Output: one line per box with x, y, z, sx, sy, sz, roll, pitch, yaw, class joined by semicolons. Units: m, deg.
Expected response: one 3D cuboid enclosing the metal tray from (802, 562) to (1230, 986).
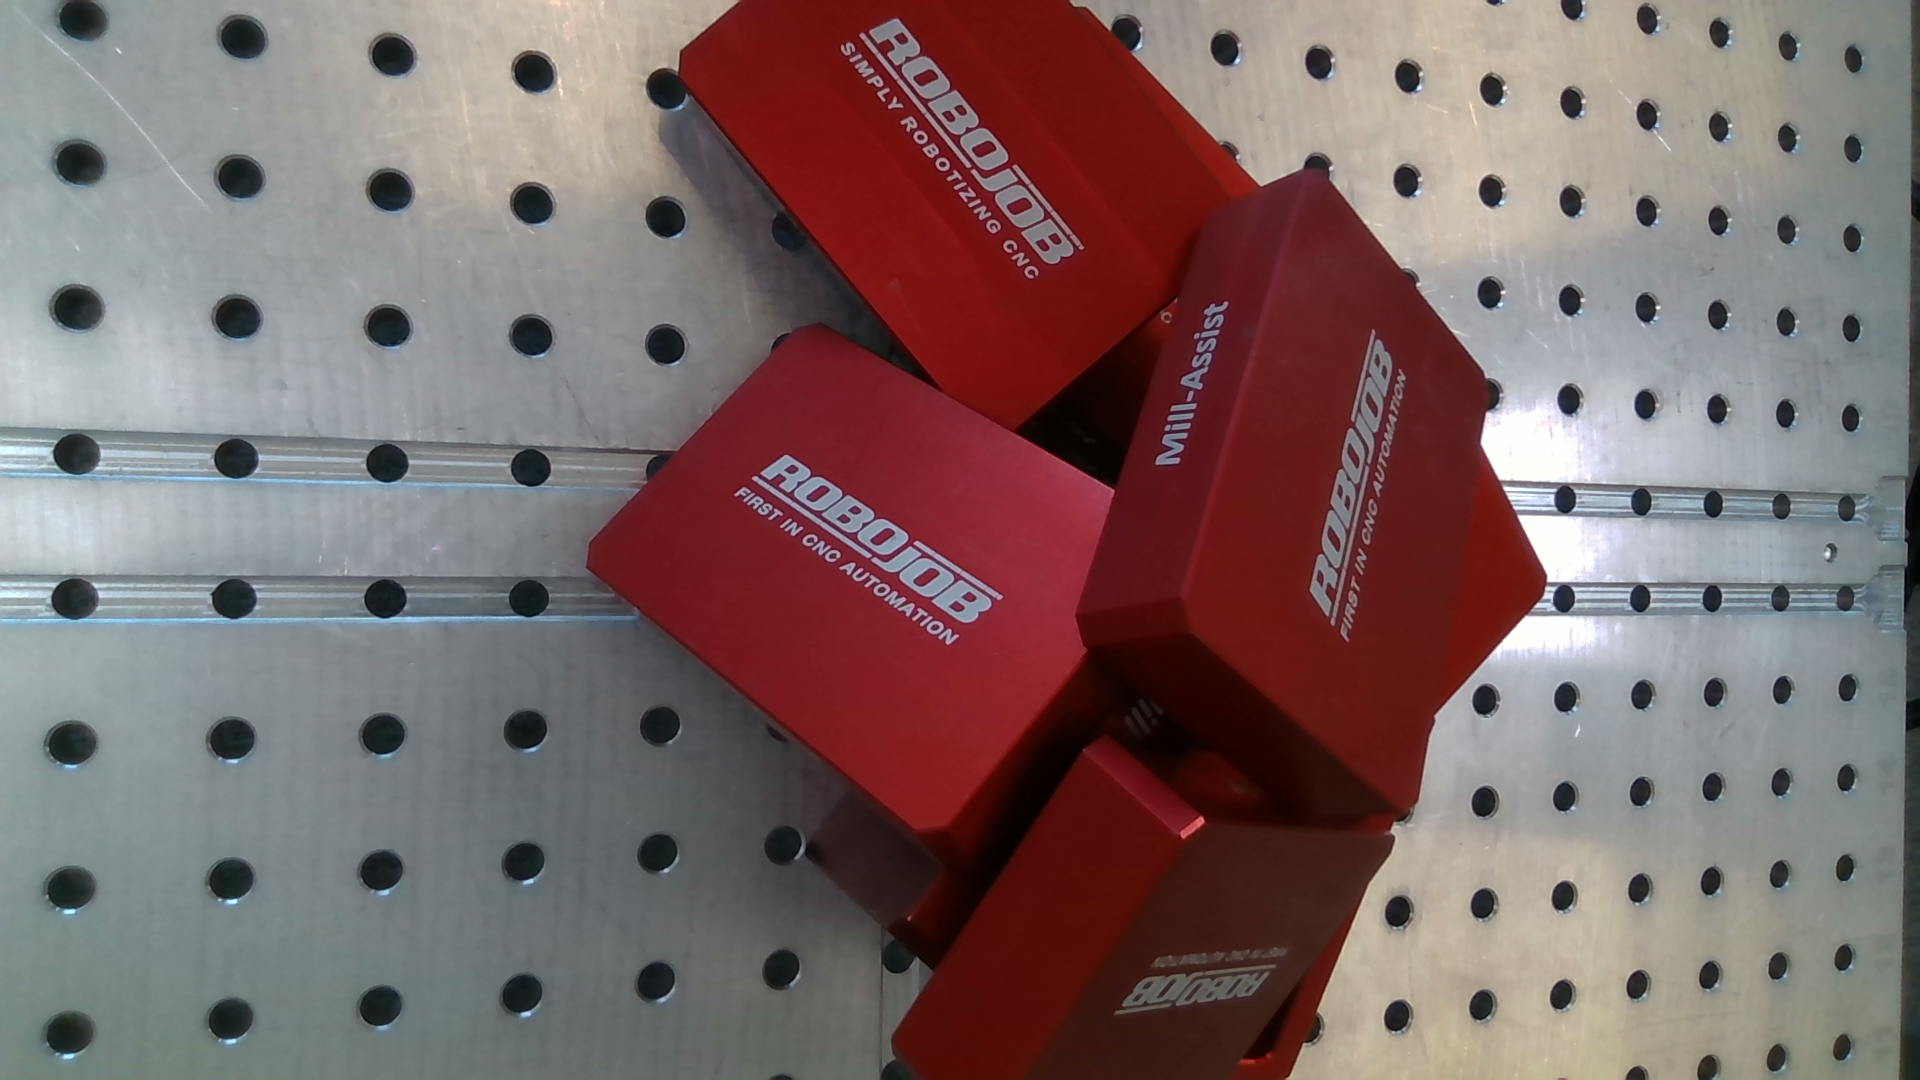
0.021;0.053;0.370;0.030;0.090;0.130;46;75;-14;metal tray

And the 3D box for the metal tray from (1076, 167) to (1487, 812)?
0.083;-0.012;0.330;0.090;0.030;0.130;39;57;-30;metal tray

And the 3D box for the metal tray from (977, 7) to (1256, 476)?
0.049;-0.079;0.411;0.130;0.030;0.090;40;77;-16;metal tray

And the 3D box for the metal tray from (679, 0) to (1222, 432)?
0.000;-0.101;0.369;0.090;0.030;0.130;-40;92;0;metal tray

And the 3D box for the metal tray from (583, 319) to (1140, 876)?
-0.020;0.008;0.340;0.090;0.130;0.030;-49;147;-13;metal tray

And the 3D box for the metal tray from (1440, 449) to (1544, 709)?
0.117;-0.003;0.417;0.090;0.030;0.130;-44;118;-13;metal tray

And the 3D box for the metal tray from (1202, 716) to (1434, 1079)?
0.070;0.092;0.396;0.090;0.030;0.130;11;106;-20;metal tray

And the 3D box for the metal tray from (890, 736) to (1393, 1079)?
0.052;0.099;0.346;0.130;0.030;0.090;19;107;-53;metal tray
